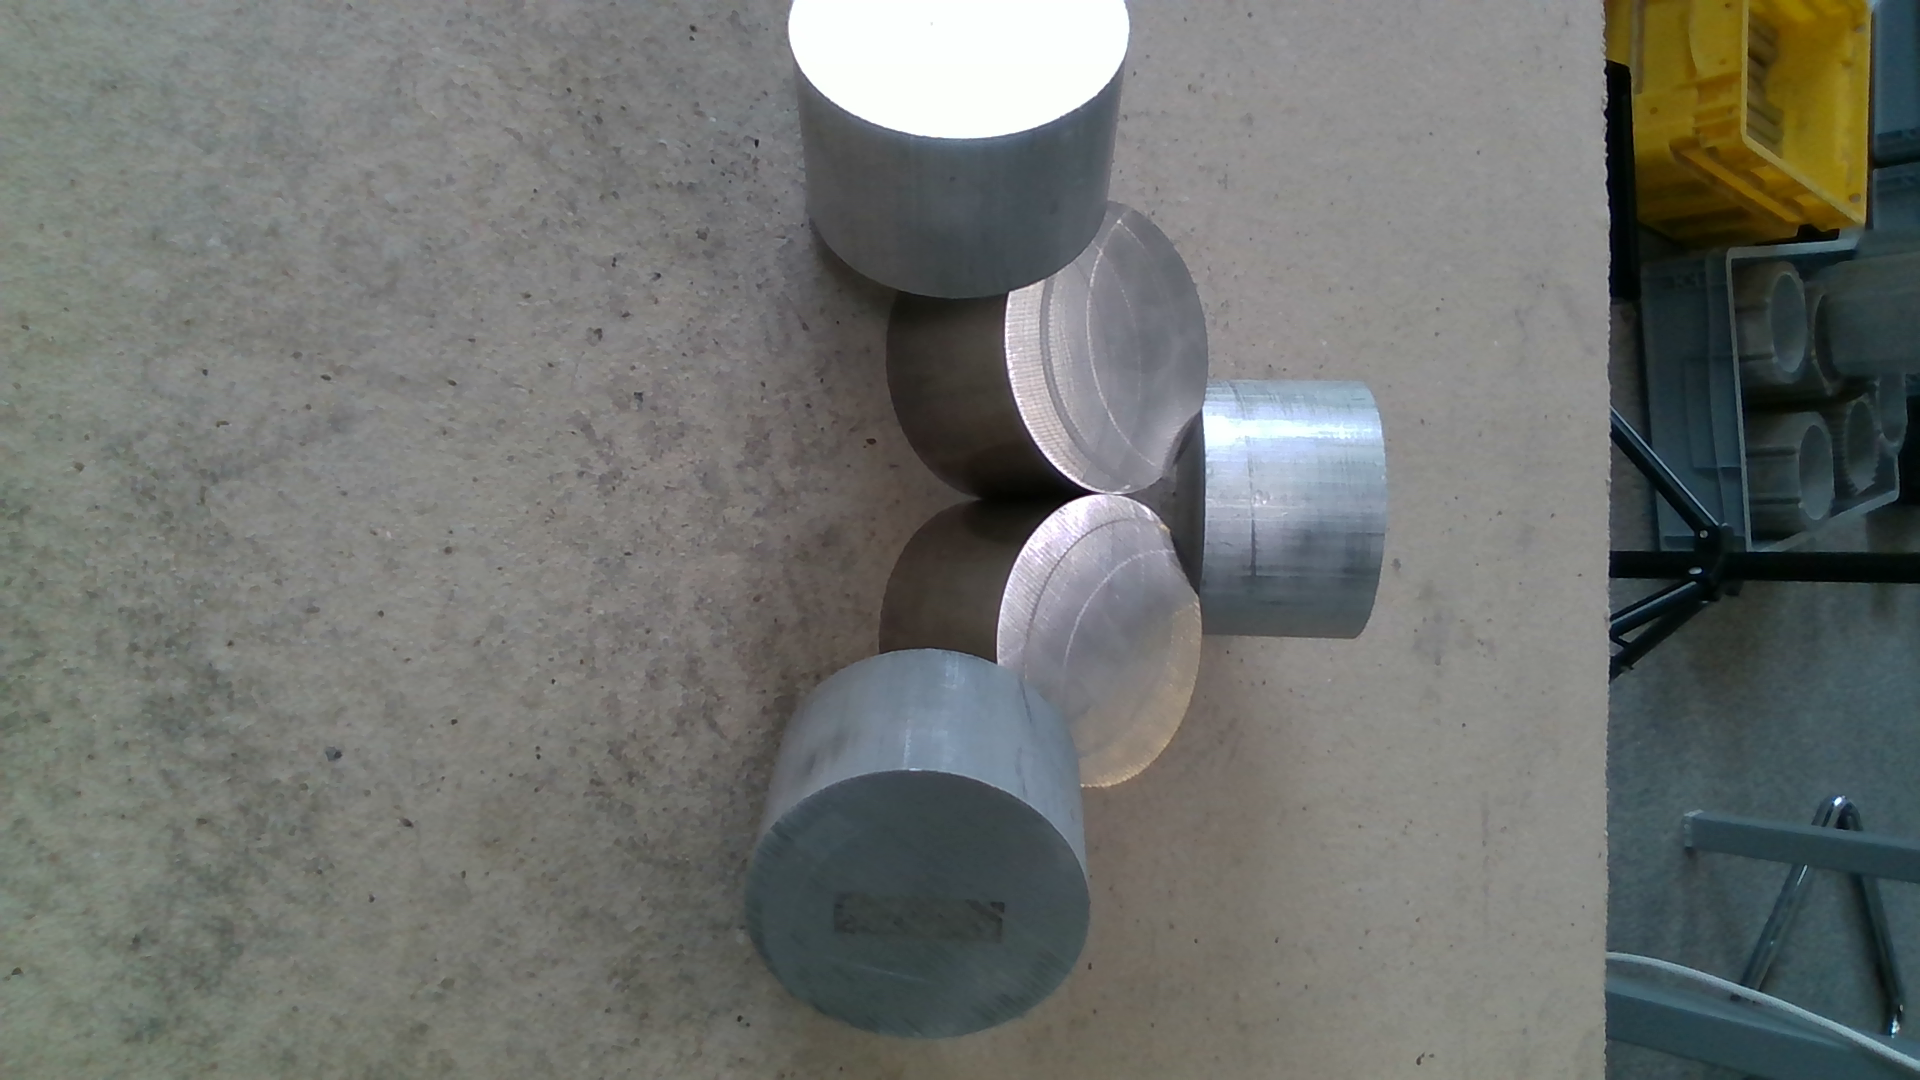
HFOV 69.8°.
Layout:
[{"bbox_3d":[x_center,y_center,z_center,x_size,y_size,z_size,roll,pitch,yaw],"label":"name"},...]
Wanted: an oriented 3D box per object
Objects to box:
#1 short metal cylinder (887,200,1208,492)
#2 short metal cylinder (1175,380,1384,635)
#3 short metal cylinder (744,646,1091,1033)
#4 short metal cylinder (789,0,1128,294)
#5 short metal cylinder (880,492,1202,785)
[{"bbox_3d":[0.026,-0.053,0.397,0.080,0.050,0.080,0,90,-41],"label":"short metal cylinder"},{"bbox_3d":[0.096,-0.010,0.429,0.050,0.080,0.080,1,89,2],"label":"short metal cylinder"},{"bbox_3d":[-0.009,0.073,0.340,0.080,0.080,0.050,60,15,-23],"label":"short metal cylinder"},{"bbox_3d":[0.000,-0.109,0.347,0.080,0.080,0.050,-51,160,-28],"label":"short metal cylinder"},{"bbox_3d":[0.024,0.027,0.395,0.080,0.050,0.080,0,90,-41],"label":"short metal cylinder"}]
